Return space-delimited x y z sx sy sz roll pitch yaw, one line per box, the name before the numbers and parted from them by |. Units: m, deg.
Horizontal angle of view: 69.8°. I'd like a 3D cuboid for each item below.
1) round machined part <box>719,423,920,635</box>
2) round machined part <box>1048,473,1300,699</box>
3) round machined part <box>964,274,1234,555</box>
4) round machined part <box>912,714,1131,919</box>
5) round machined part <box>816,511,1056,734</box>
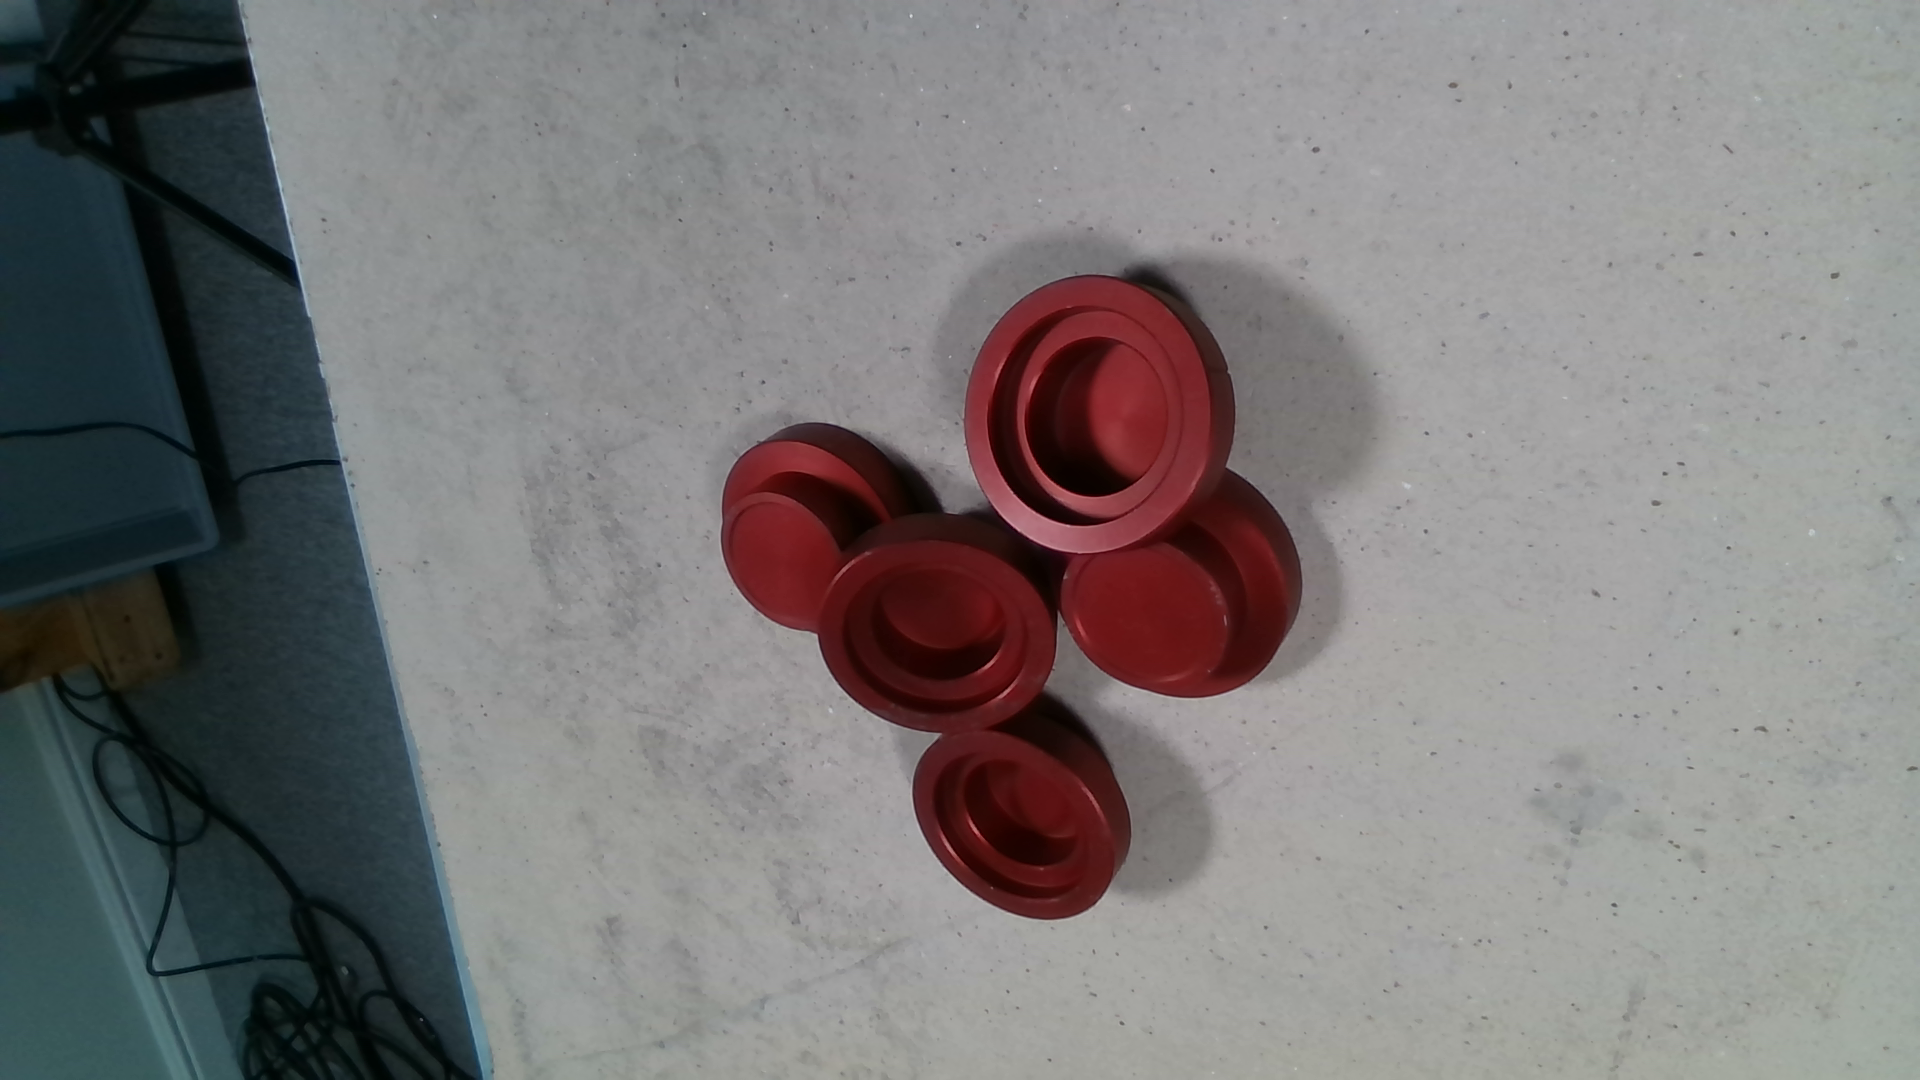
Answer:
round machined part | -0.067 0.001 0.610 0.098 0.042 0.098 14 122 25
round machined part | 0.078 0.019 0.531 0.098 0.042 0.098 14 122 25
round machined part | 0.053 -0.045 0.498 0.098 0.042 0.098 2 94 33
round machined part | 0.031 0.117 0.614 0.098 0.042 0.098 14 122 25
round machined part | -0.008 0.030 0.577 0.098 0.042 0.098 3 121 4
